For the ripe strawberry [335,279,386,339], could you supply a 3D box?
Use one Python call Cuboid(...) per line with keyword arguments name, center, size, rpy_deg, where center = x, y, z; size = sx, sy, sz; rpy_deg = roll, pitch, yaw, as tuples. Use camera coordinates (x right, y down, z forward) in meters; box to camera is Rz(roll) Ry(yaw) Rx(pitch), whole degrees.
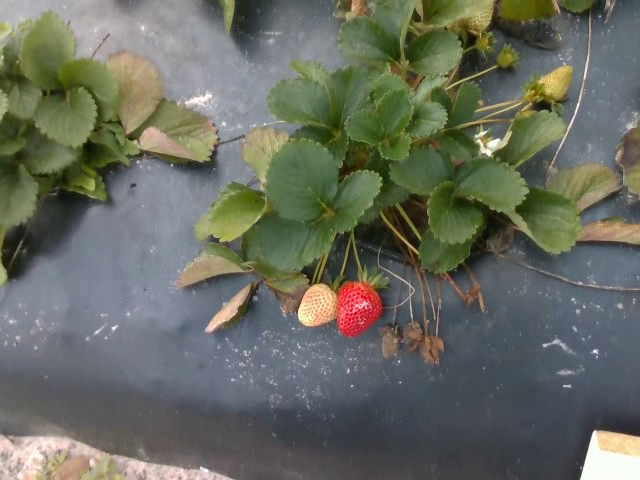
Cuboid(name="ripe strawberry", center=(0.024, 0.047, 0.401), size=(0.034, 0.042, 0.033), rpy_deg=(35, -31, 0))
